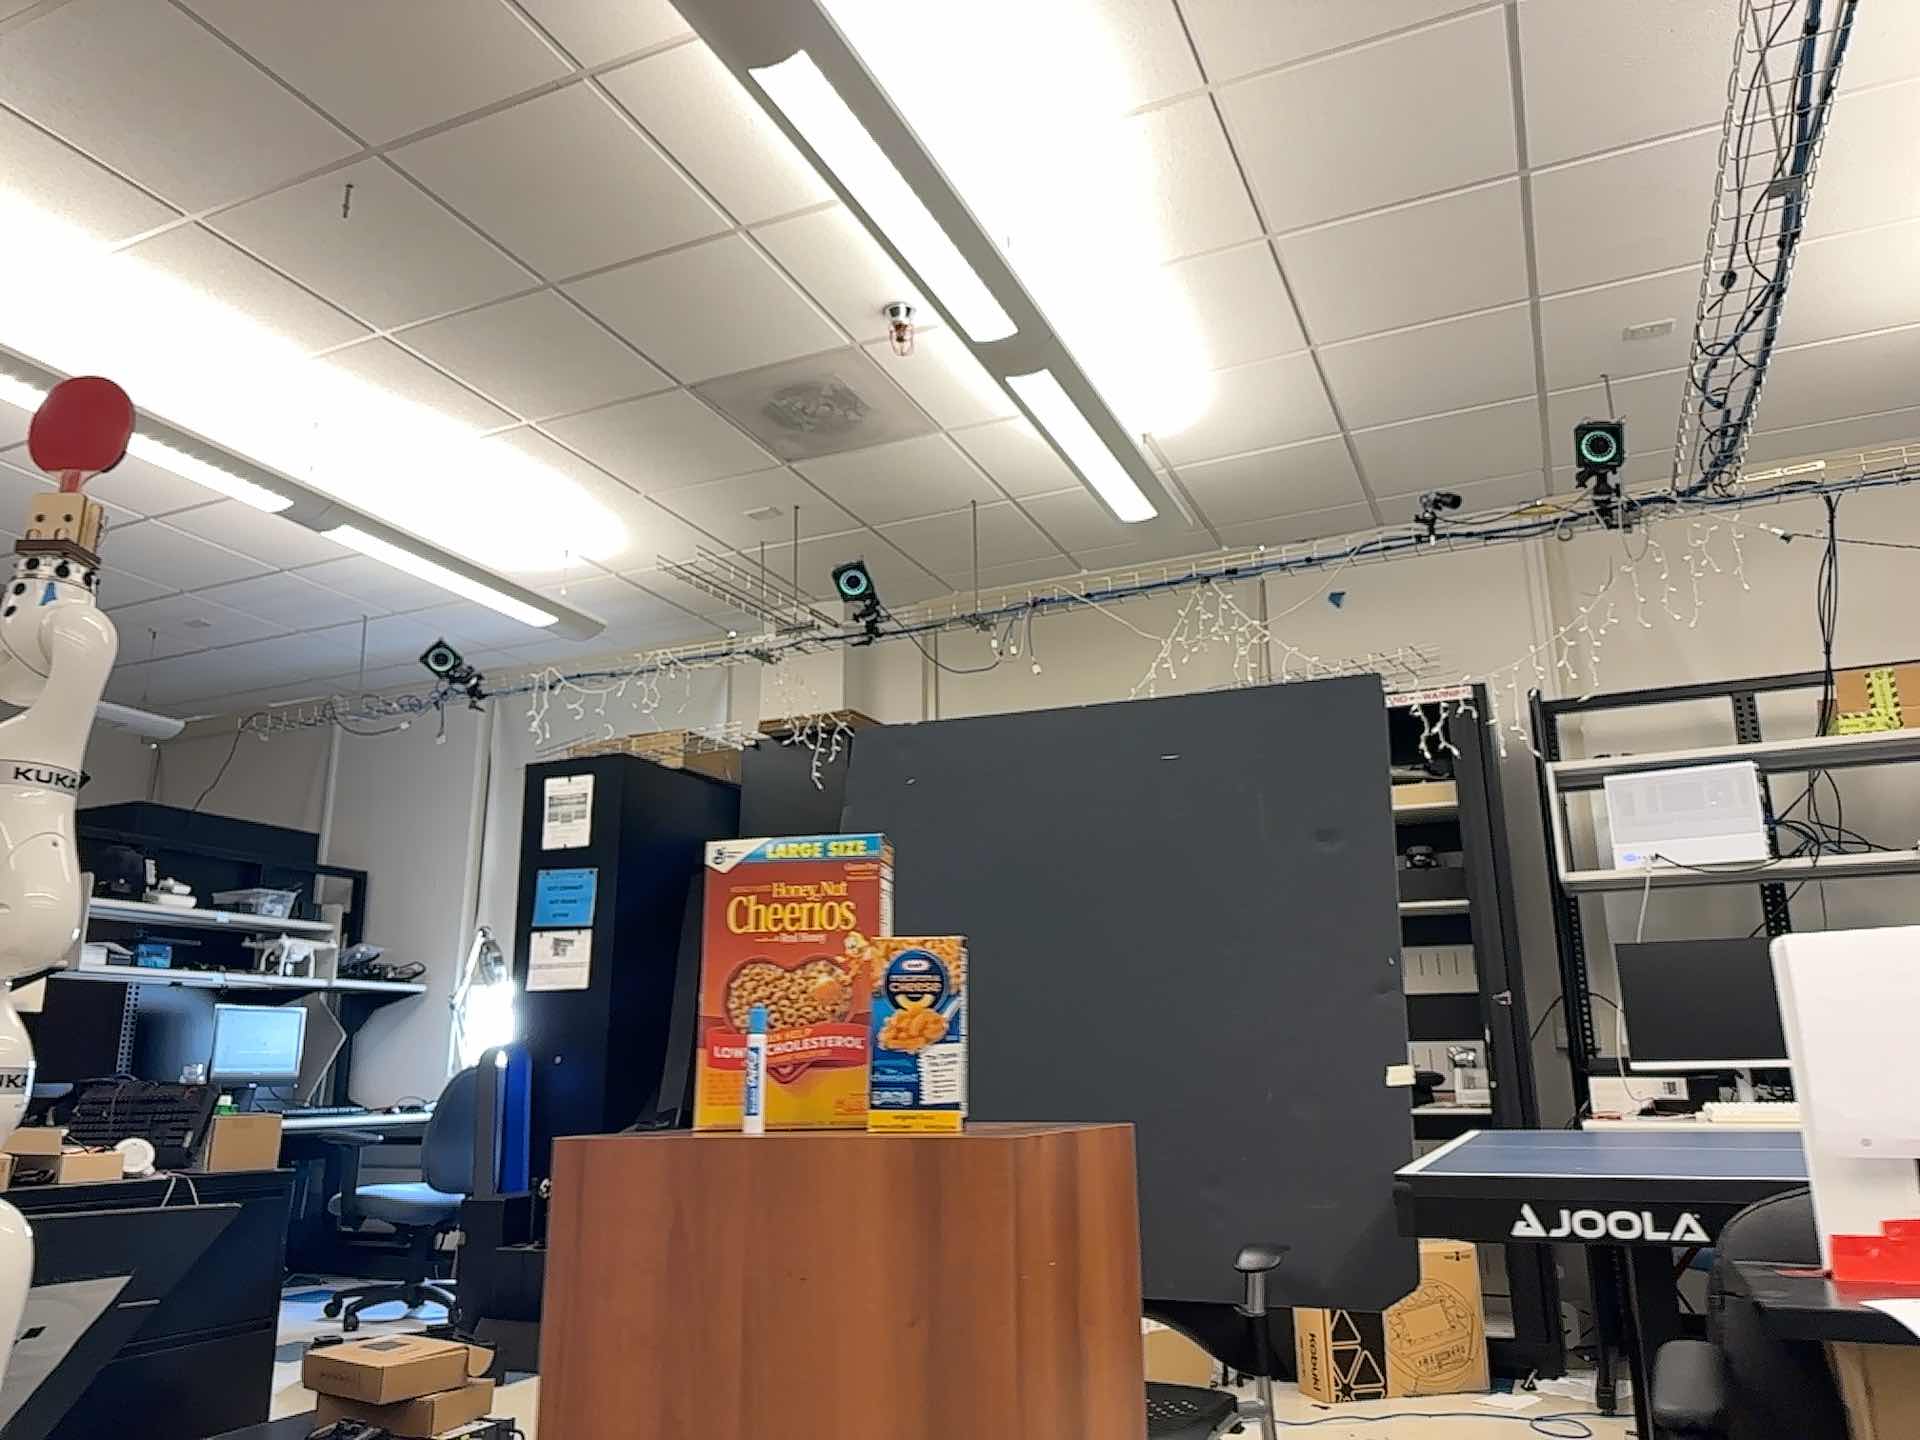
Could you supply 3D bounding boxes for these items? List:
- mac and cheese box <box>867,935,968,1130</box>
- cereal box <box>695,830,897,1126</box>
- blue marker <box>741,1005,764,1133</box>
[{"bbox_3d":[-0.041,0.304,1.321,0.088,0.181,0.035,-5,-16,18],"label":"mac and cheese box"},{"bbox_3d":[-0.175,0.276,1.451,0.195,0.297,0.065,-3,-15,12],"label":"cereal box"},{"bbox_3d":[-0.206,0.344,1.336,0.020,0.121,0.020,-1,-14,0],"label":"blue marker"}]
